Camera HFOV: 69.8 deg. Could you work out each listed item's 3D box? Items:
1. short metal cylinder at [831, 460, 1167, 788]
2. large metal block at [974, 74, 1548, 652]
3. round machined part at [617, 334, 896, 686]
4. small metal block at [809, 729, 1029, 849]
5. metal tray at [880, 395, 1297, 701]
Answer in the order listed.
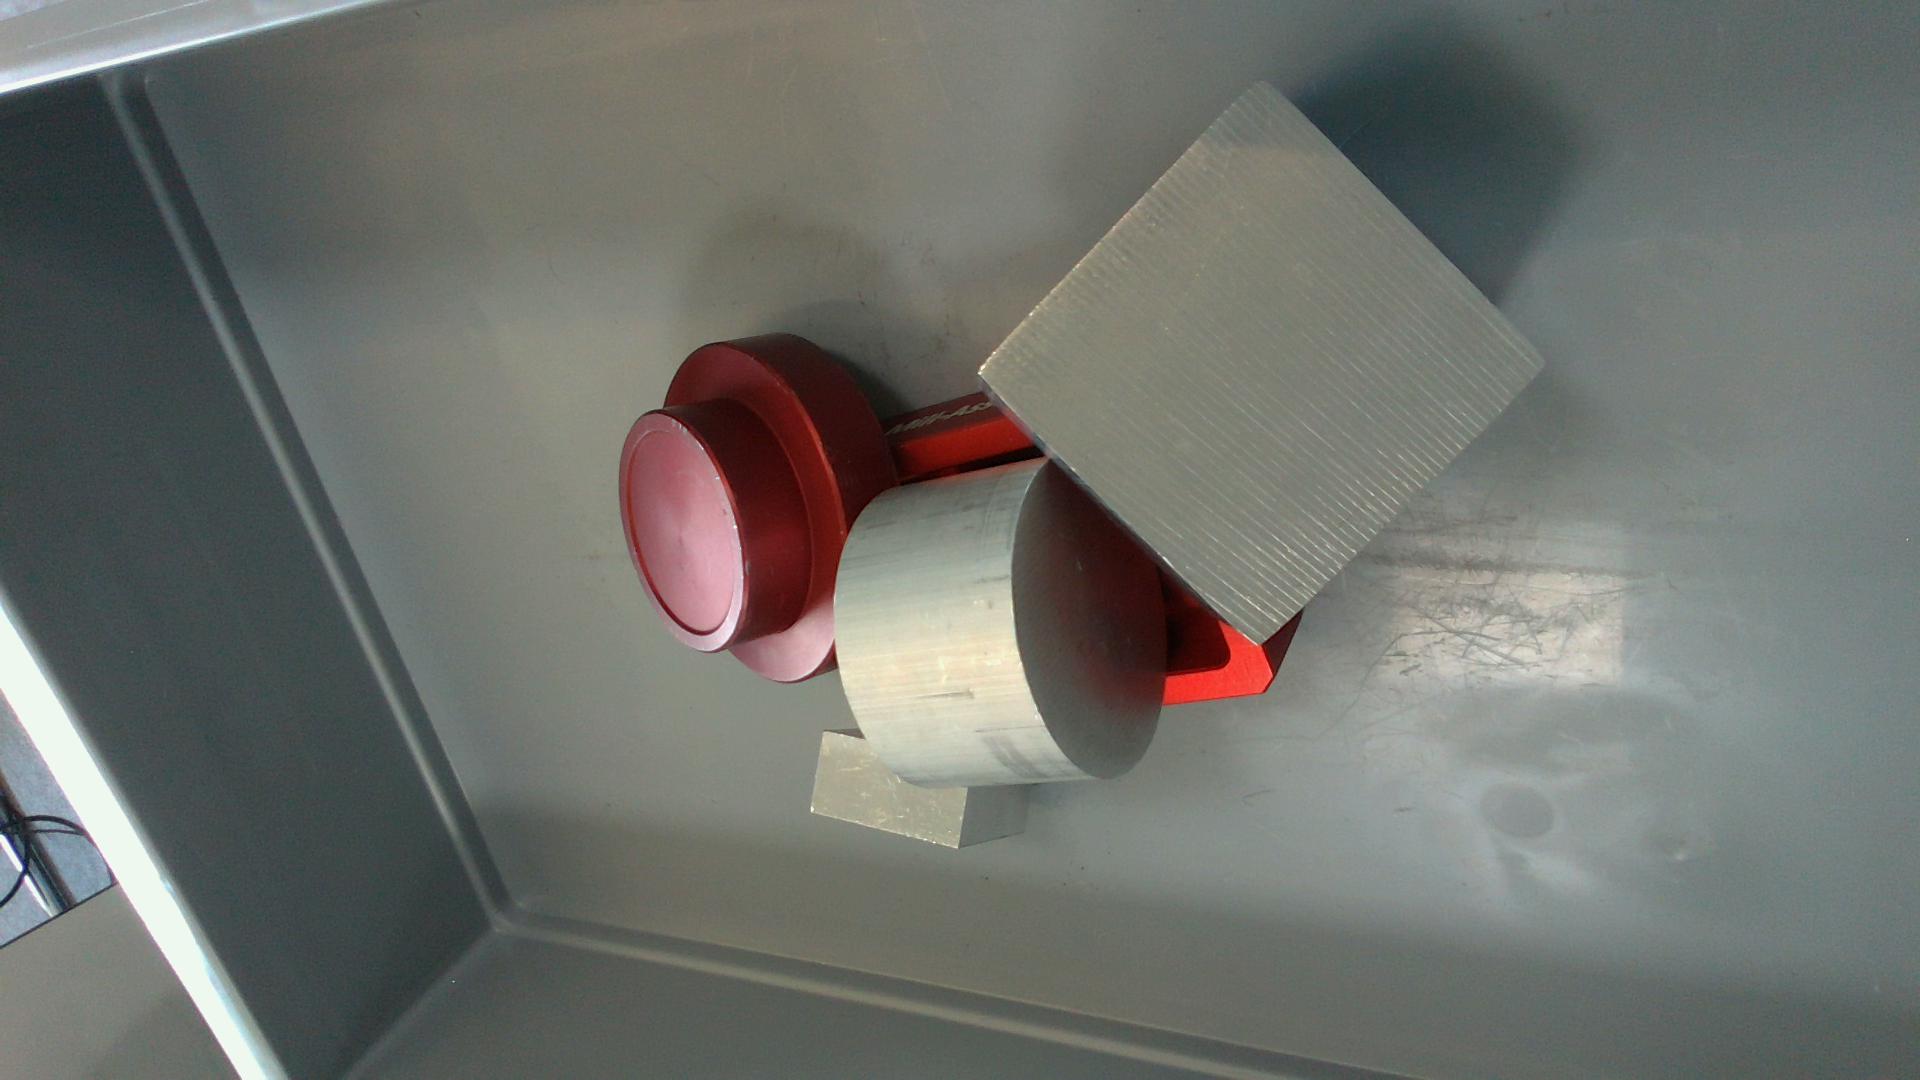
[{"bbox_3d":[0.012,0.022,0.346,0.050,0.080,0.080,-10,114,32],"label":"short metal cylinder"},{"bbox_3d":[0.059,-0.036,0.296,0.080,0.050,0.080,43,93,-2],"label":"large metal block"},{"bbox_3d":[-0.061,-0.006,0.385,0.098,0.042,0.098,22,119,47],"label":"round machined part"},{"bbox_3d":[-0.011,0.075,0.424,0.050,0.050,0.025,8,88,25],"label":"small metal block"},{"bbox_3d":[0.018,0.004,0.383,0.129,0.030,0.090,-12,112,33],"label":"metal tray"}]
